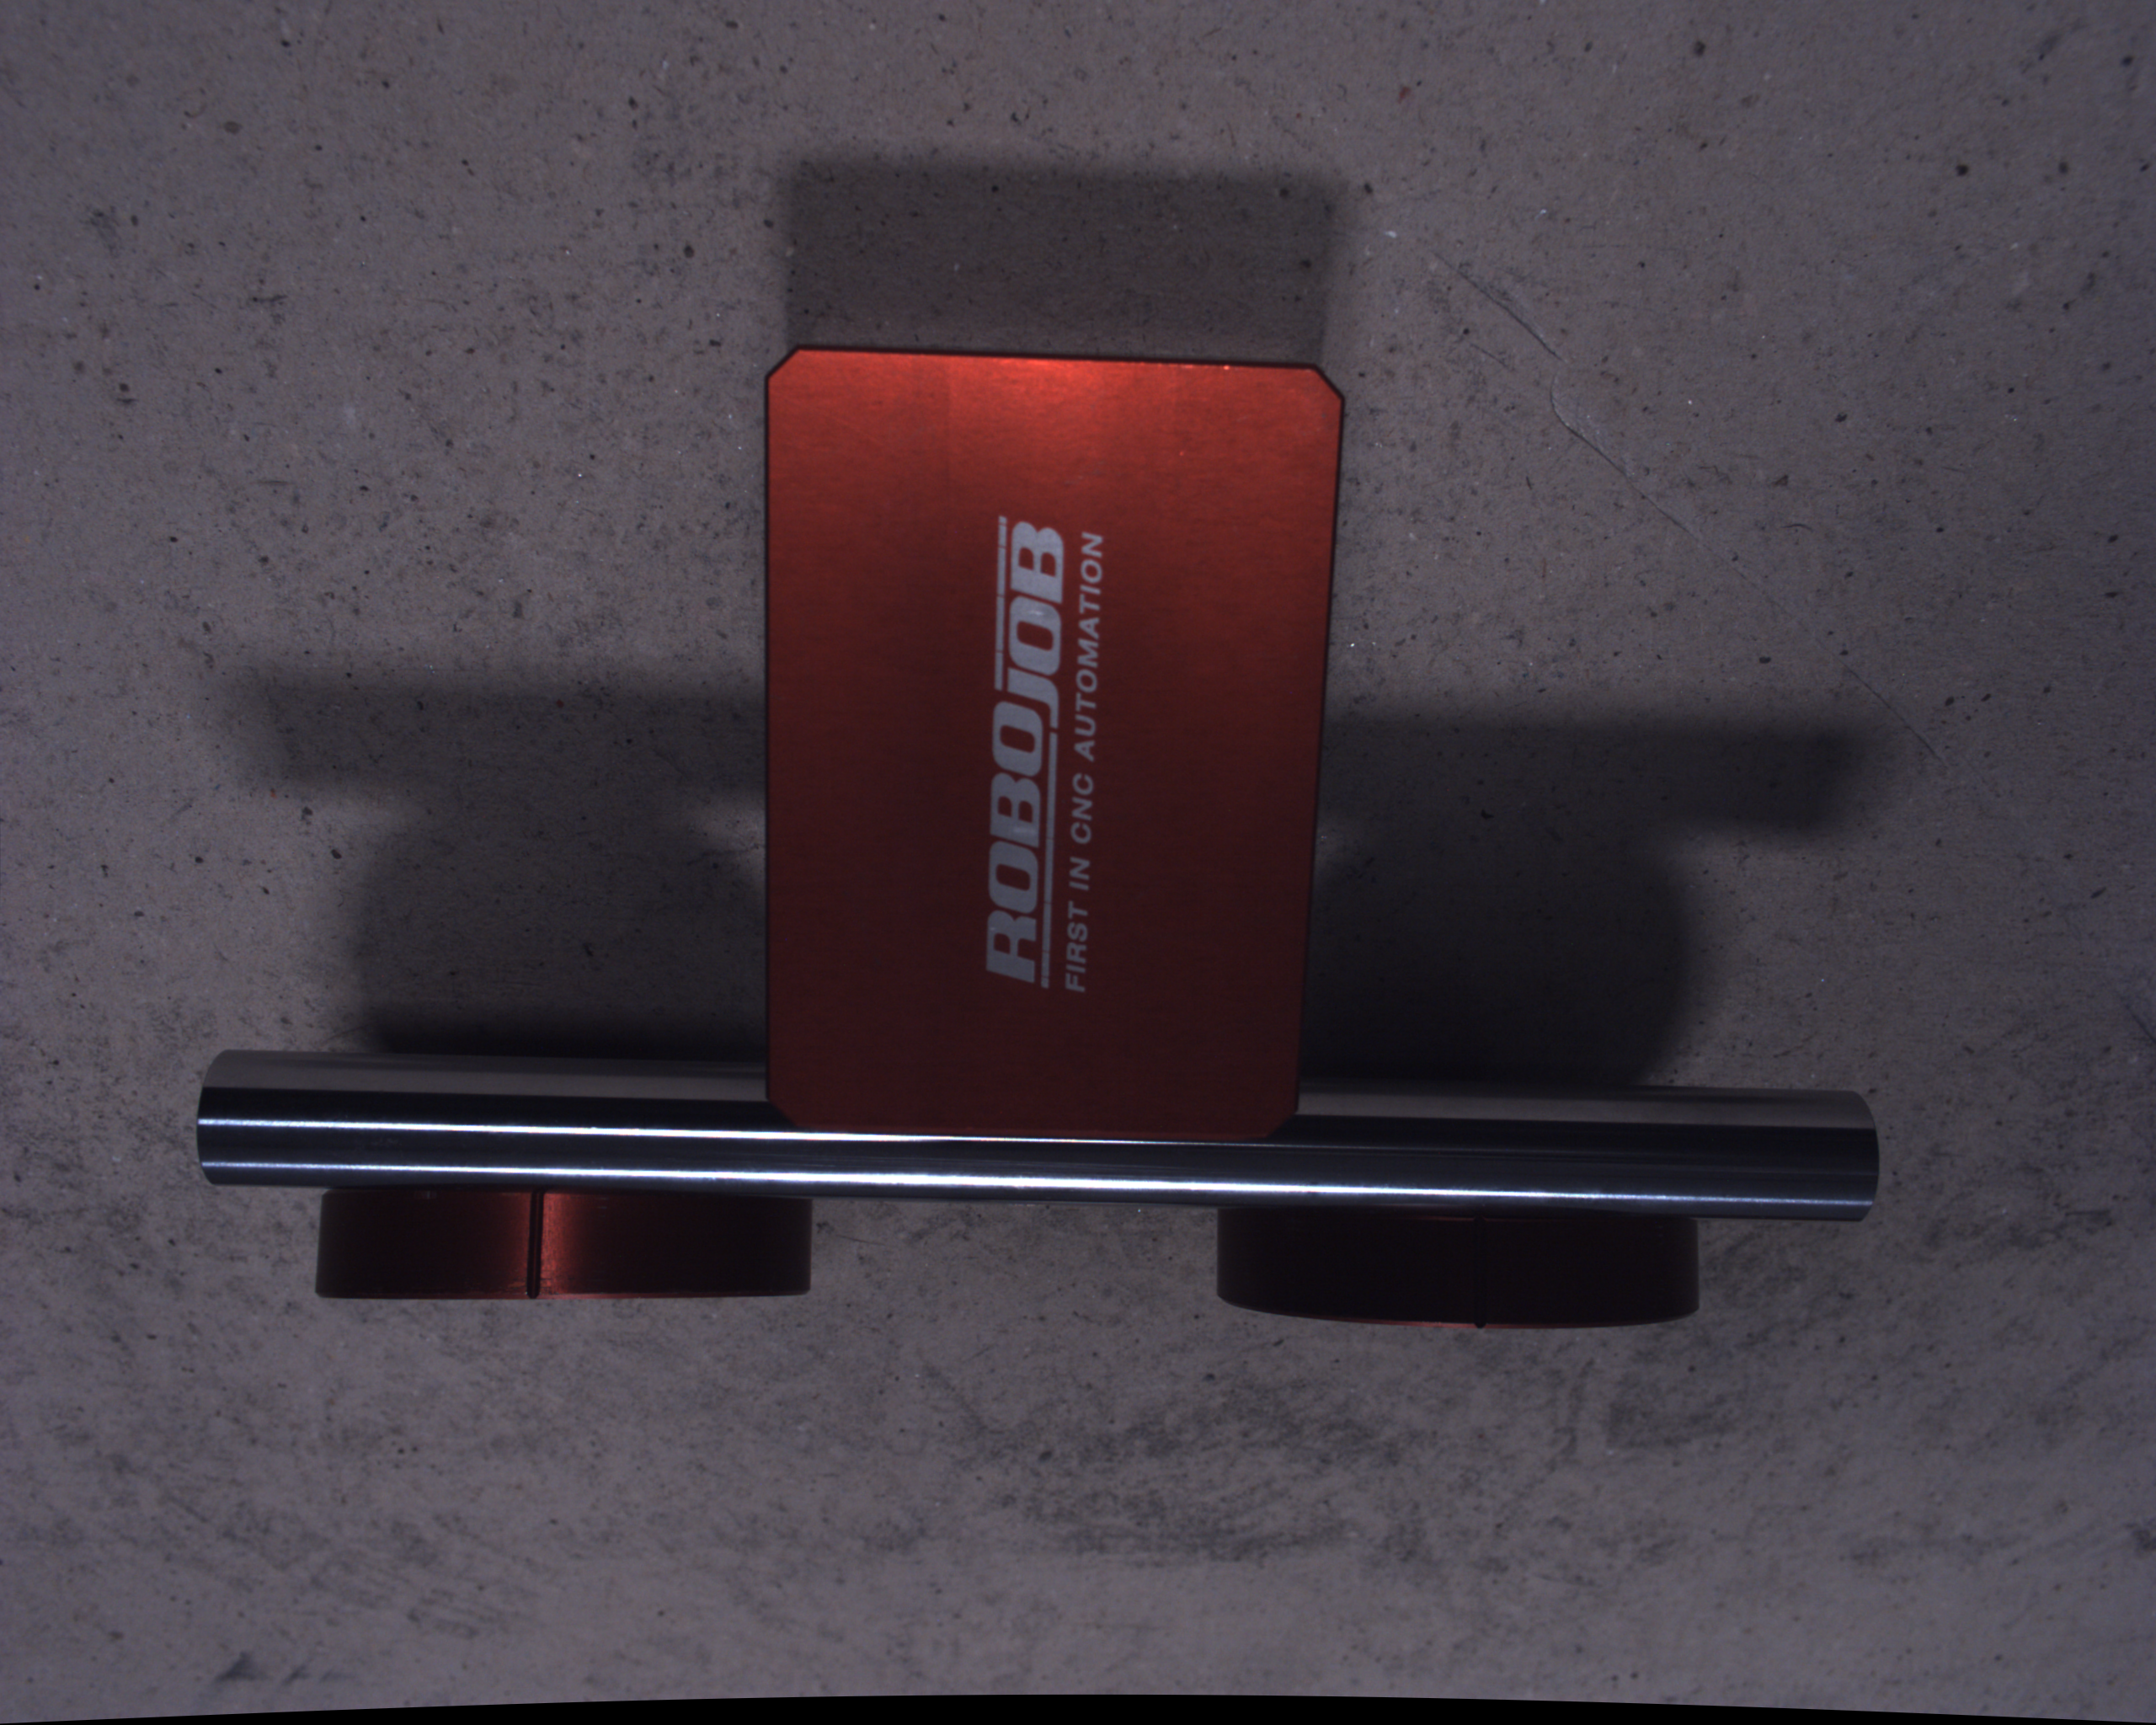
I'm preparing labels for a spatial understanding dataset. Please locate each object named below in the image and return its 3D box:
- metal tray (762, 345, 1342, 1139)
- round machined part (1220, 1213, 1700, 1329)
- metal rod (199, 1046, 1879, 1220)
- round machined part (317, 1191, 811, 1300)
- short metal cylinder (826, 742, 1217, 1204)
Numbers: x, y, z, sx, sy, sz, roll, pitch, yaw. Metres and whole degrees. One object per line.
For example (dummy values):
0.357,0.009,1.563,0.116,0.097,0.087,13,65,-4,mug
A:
-0.006,-0.020,0.353,0.091,0.030,0.129,1,104,-2,metal tray
0.079,0.072,0.437,0.099,0.042,0.098,0,173,0,round machined part
-0.005,0.050,0.387,0.302,0.025,0.025,2,130,-2,metal rod
-0.105,0.069,0.434,0.099,0.042,0.098,-1,169,0,round machined part
-0.009,0.022,0.412,0.081,0.050,0.079,0,130,0,short metal cylinder
